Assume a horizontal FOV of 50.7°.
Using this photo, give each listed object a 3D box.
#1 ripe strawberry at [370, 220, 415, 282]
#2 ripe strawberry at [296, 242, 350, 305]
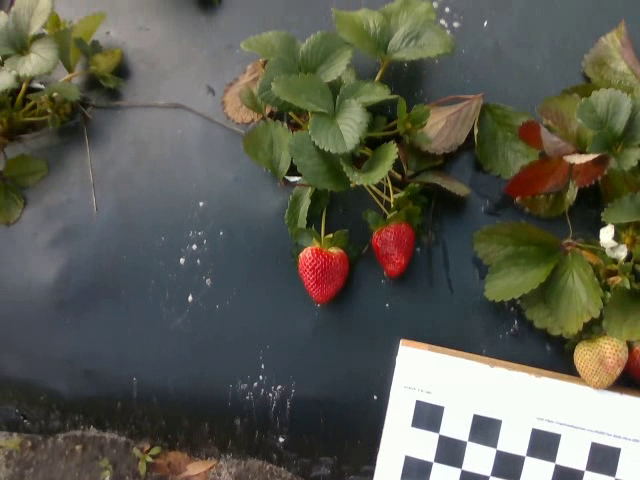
[{"bbox_3d":[0.063,0.007,0.577,0.042,0.053,0.034,-5,-29,16],"label":"ripe strawberry"},{"bbox_3d":[0.001,0.031,0.584,0.050,0.061,0.045,0,-31,15],"label":"ripe strawberry"}]
